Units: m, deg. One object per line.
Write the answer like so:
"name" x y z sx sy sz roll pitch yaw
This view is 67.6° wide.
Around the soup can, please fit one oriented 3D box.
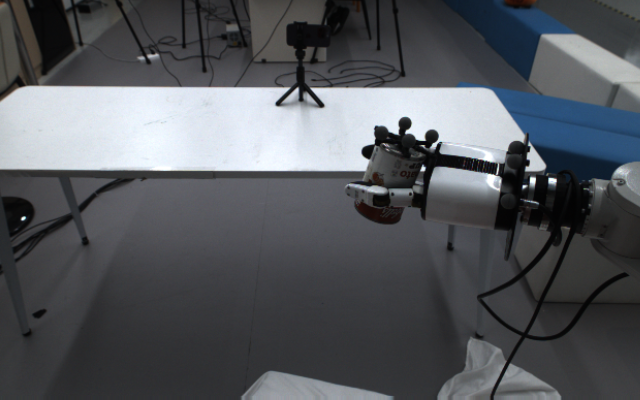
"soup can" 0.093 -0.028 0.640 0.067 0.101 0.067 13 30 -8
